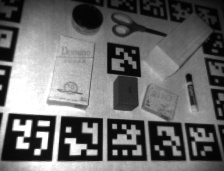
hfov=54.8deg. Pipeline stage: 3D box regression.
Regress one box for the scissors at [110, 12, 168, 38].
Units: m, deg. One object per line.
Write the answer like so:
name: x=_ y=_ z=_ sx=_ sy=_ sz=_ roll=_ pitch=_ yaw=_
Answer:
scissors: x=0.091 y=-0.177 z=0.688 sx=0.204 sy=0.016 sz=0.087 roll=11 pitch=69 yaw=-11

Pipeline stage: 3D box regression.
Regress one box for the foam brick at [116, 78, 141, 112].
foam brick: x=0.043 y=0.027 z=0.577 sx=0.053 sy=0.051 sz=0.078 roll=6 pitch=70 yaw=-14

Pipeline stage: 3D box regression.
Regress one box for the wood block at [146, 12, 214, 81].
wood block: x=0.213 y=-0.121 z=0.668 sx=0.090 sy=0.090 sz=0.207 roll=45 pitch=64 yaw=3

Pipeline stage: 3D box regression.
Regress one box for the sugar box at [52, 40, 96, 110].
sugar box: x=-0.096 y=-0.029 z=0.563 sx=0.093 sy=0.045 sz=0.176 roll=9 pitch=69 yaw=-15

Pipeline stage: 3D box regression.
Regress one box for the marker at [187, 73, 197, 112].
marker: x=0.244 y=0.019 z=0.662 sx=0.020 sy=0.019 sz=0.121 roll=6 pitch=72 yaw=-14

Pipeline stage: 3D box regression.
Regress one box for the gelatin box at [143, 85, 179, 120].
gelatin box: x=0.140 y=0.048 z=0.615 sx=0.090 sy=0.030 sz=0.073 roll=22 pitch=67 yaw=-8

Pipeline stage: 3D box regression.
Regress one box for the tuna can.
tuna can: x=-0.074 y=-0.186 z=0.627 sx=0.086 sy=0.033 sz=0.085 roll=6 pitch=70 yaw=-15
